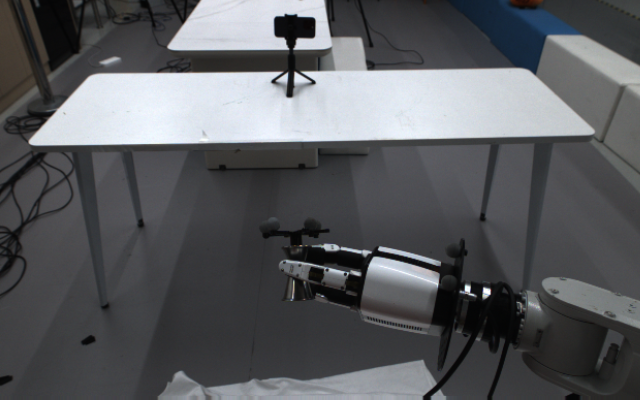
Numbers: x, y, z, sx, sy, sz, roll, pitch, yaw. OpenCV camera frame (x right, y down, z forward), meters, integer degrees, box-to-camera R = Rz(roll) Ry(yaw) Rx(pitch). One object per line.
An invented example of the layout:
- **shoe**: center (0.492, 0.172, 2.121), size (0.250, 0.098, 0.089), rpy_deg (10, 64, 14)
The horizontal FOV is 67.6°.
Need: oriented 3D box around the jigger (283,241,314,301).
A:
- **jigger**: center (-0.029, 0.092, 0.619), size (0.043, 0.071, 0.043), rpy_deg (-2, -7, 0)
